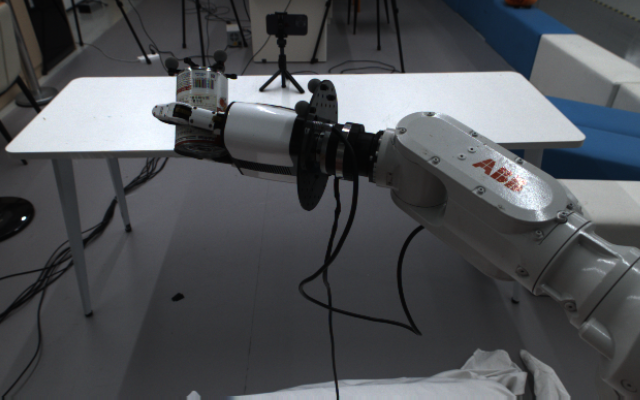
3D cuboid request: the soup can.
[{"bbox_3d":[-0.152,-0.110,0.623,0.067,0.101,0.067,-1,-9,0],"label":"soup can"}]
